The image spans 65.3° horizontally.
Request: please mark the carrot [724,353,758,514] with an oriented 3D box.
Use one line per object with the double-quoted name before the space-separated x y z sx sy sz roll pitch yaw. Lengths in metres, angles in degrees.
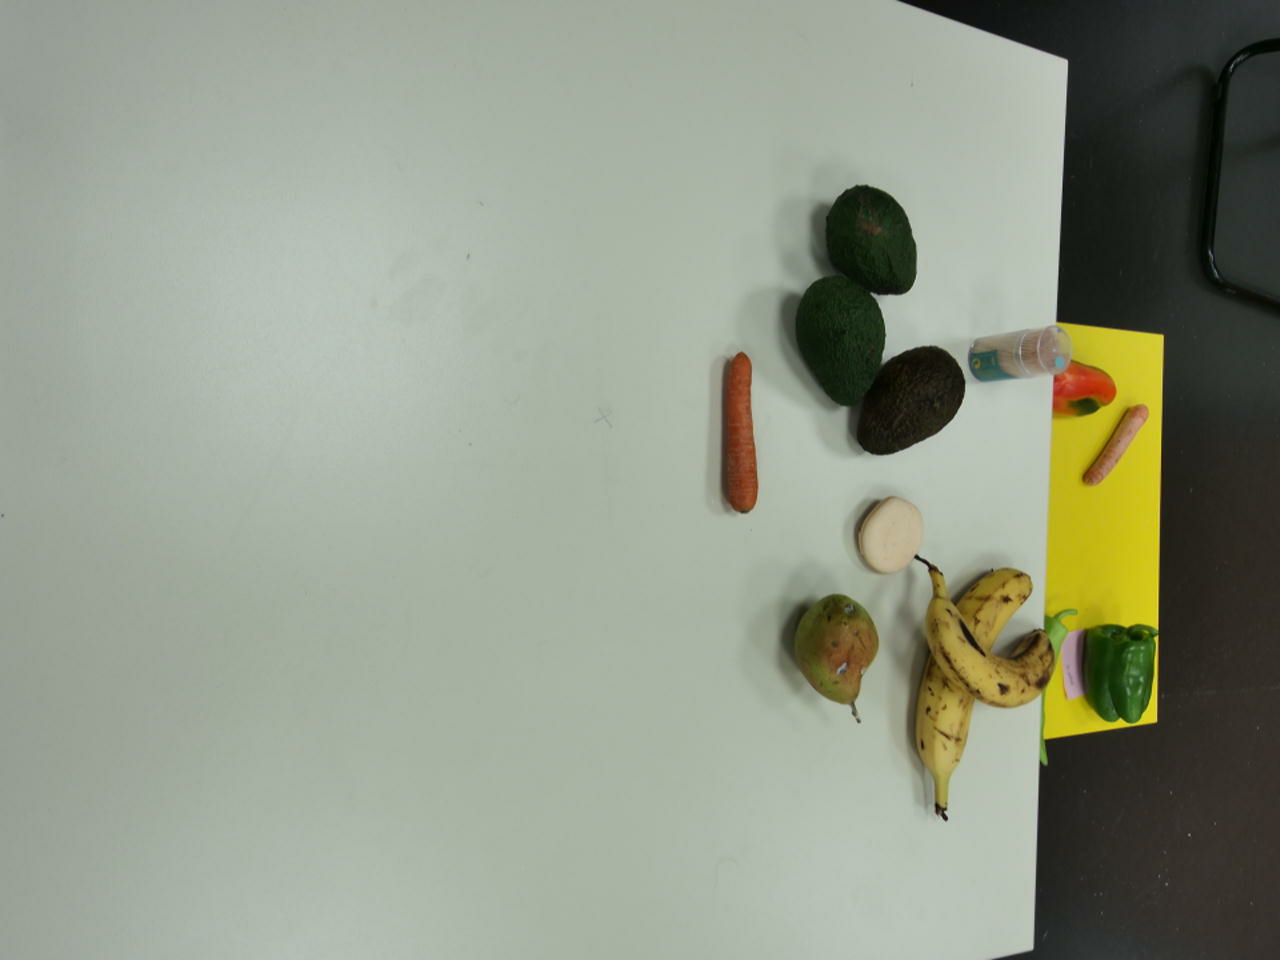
"carrot" 0.077 -0.036 0.750 0.024 0.023 0.122 0 90 -29
